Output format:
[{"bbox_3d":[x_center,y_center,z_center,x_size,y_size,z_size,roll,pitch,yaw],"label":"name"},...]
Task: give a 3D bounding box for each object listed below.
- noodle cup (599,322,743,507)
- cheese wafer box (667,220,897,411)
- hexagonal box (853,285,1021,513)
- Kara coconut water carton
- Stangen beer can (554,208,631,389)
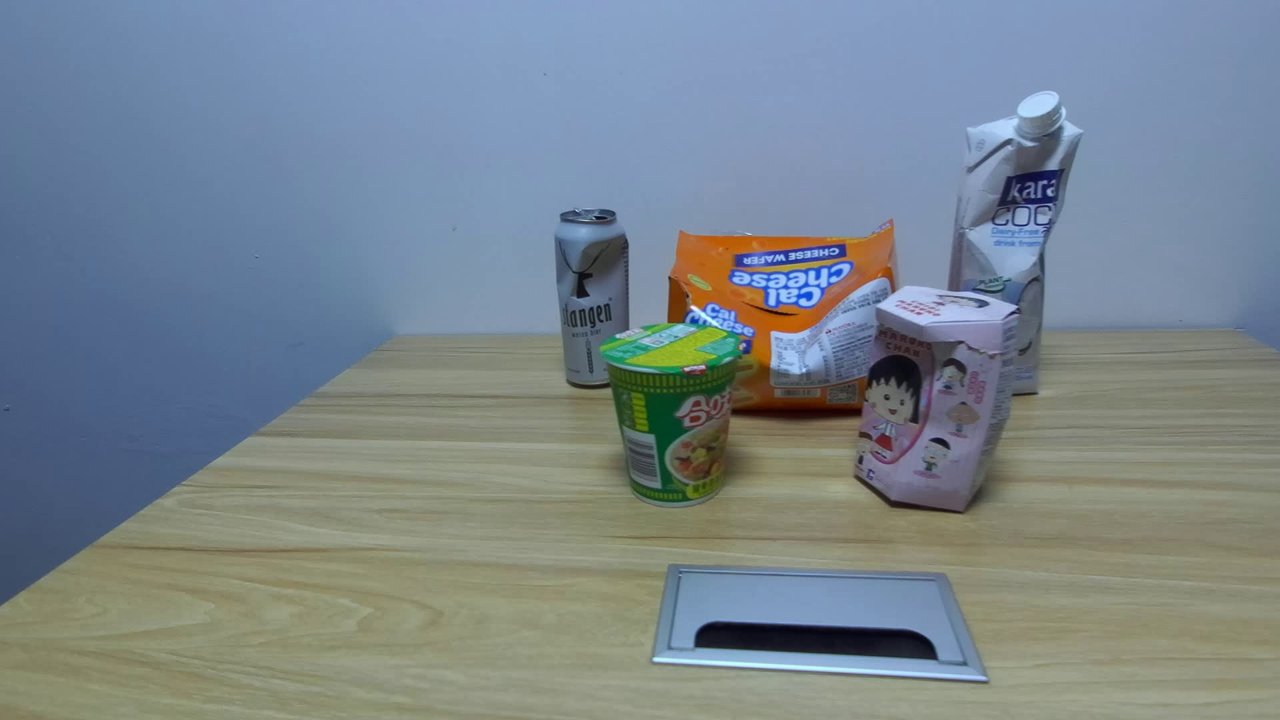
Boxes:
[{"bbox_3d":[0.022,0.040,0.495,0.097,0.110,0.097,-2,20,1],"label":"noodle cup"},{"bbox_3d":[0.134,-0.042,0.651,0.219,0.145,0.191,1,20,9],"label":"cheese wafer box"},{"bbox_3d":[0.201,0.025,0.484,0.090,0.134,0.091,8,22,19],"label":"hexagonal box"},{"bbox_3d":[0.316,-0.096,0.613,0.083,0.256,0.078,0,25,10],"label":"Kara coconut water carton"},{"bbox_3d":[-0.046,-0.061,0.692,0.070,0.173,0.069,1,22,8],"label":"Stangen beer can"}]
